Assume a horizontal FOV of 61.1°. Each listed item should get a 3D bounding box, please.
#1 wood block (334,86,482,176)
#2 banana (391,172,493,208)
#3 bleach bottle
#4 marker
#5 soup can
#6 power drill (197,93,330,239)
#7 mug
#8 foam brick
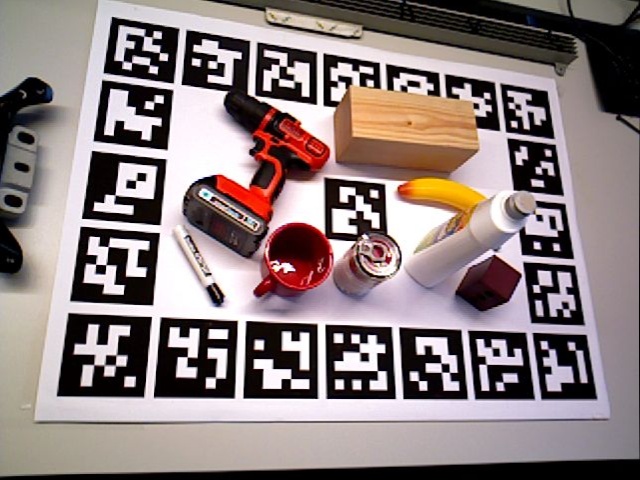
[{"bbox_3d":[0.133,-0.164,0.836,0.204,0.092,0.089,4,71,-15],"label":"wood block"},{"bbox_3d":[0.205,-0.065,0.847,0.196,0.039,0.074,21,81,-11],"label":"banana"},{"bbox_3d":[0.201,-0.006,0.712,0.068,0.256,0.101,32,64,-3],"label":"bleach bottle"},{"bbox_3d":[-0.165,0.038,0.724,0.019,0.020,0.121,-26,82,-20],"label":"marker"},{"bbox_3d":[0.063,0.035,0.735,0.067,0.104,0.067,7,65,-16],"label":"soup can"},{"bbox_3d":[-0.096,-0.101,0.772,0.184,0.058,0.184,34,65,-7],"label":"power drill"},{"bbox_3d":[-0.045,0.035,0.721,0.093,0.083,0.115,46,69,1],"label":"mug"},{"bbox_3d":[0.252,0.074,0.797,0.052,0.079,0.050,36,63,1],"label":"foam brick"}]
